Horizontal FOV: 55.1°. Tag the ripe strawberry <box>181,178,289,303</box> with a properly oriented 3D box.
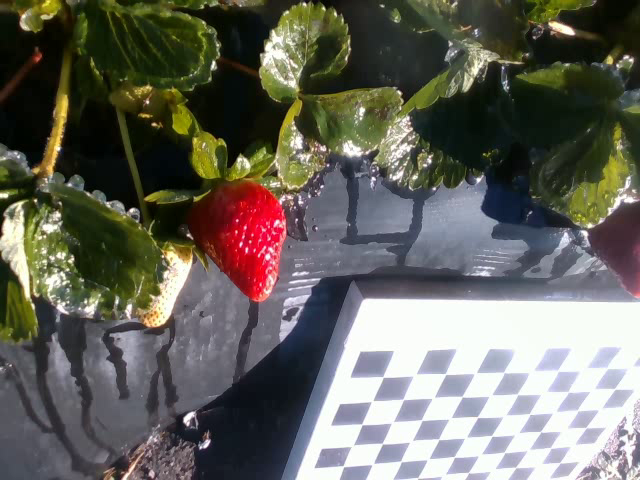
[{"bbox_3d":[-0.034,0.004,0.283,0.042,0.061,0.046,-9,-3,-13],"label":"ripe strawberry"}]
